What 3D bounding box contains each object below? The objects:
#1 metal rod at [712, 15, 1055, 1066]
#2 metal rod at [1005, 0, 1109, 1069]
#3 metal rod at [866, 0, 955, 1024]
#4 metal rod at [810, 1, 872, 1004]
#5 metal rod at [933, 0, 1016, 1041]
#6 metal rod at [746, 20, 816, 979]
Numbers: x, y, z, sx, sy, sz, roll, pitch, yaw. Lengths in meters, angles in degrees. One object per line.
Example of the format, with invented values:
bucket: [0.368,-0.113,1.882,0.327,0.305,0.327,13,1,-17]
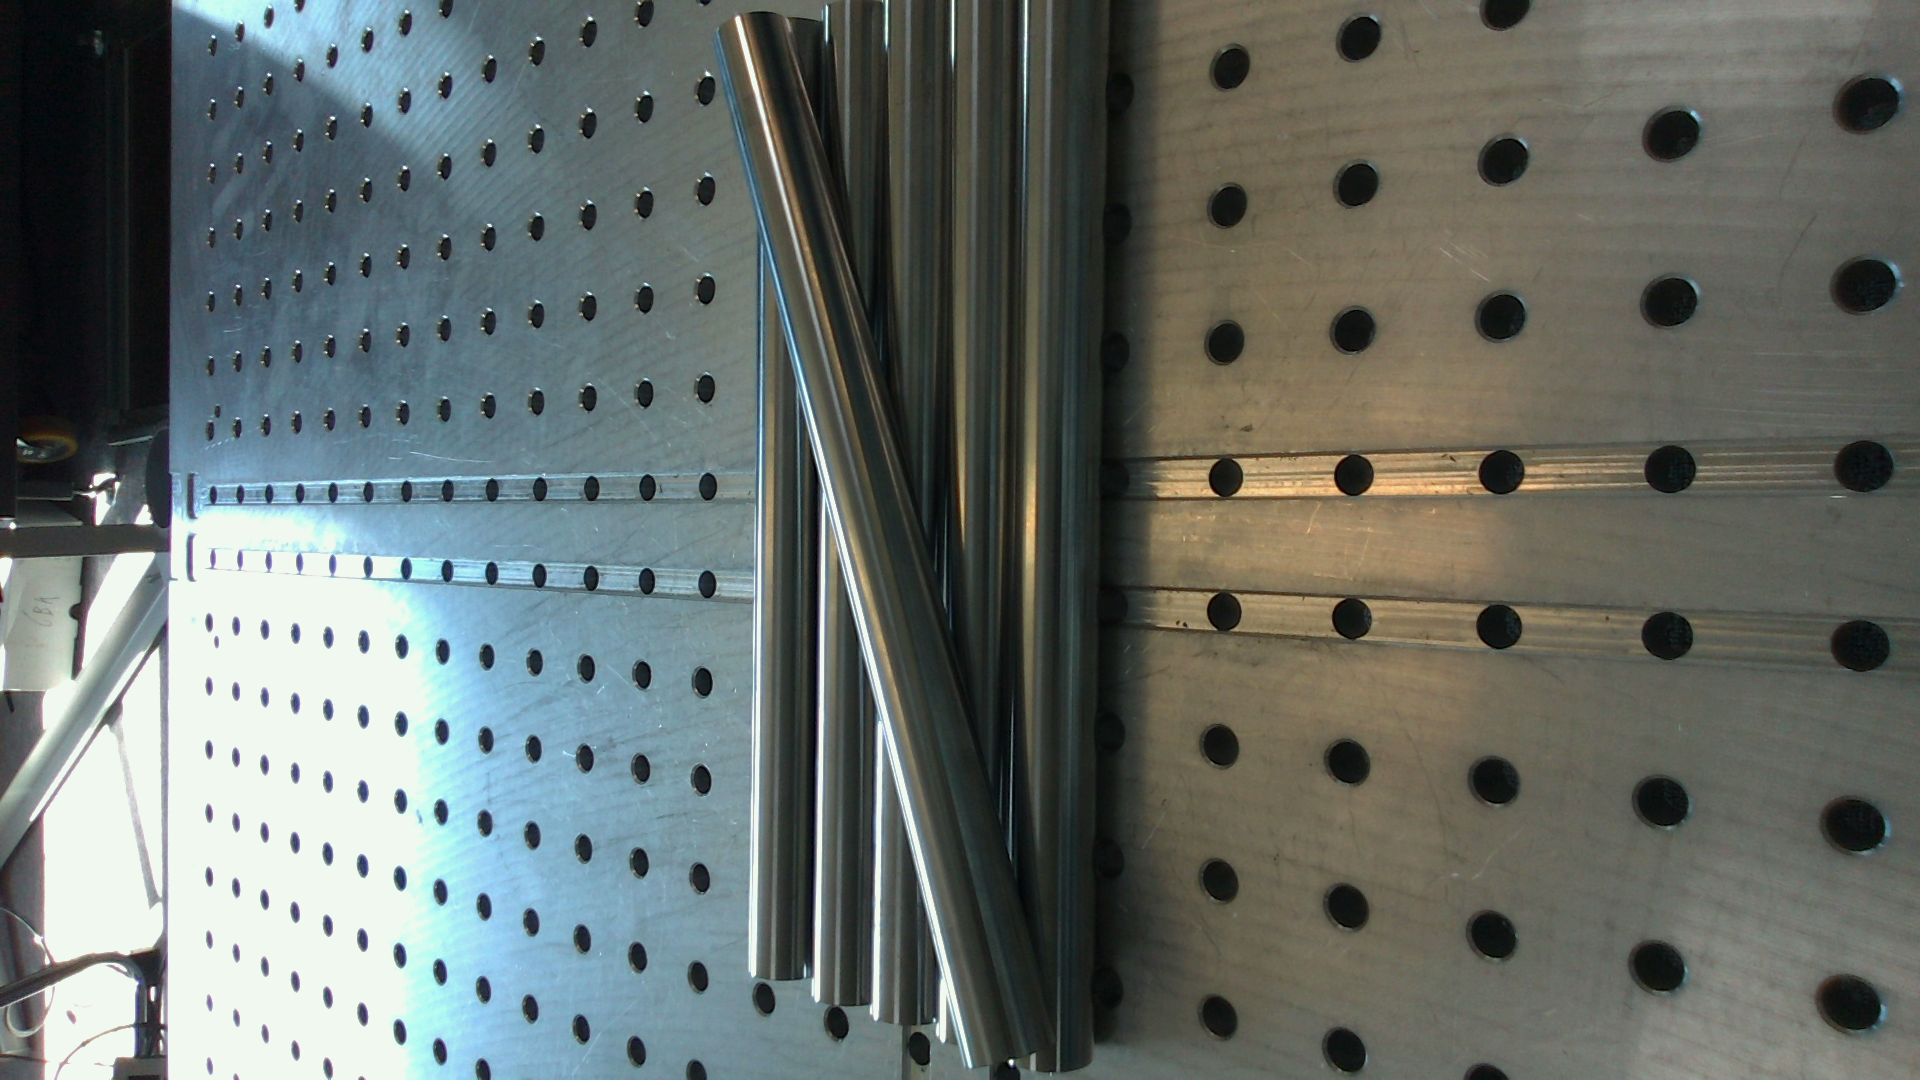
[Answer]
metal rod: [-0.025,-0.010,0.386,0.025,0.025,0.300,-24,75,38]
metal rod: [0.026,-0.009,0.377,0.025,0.025,0.300,2,91,40]
metal rod: [-0.014,-0.010,0.409,0.025,0.025,0.300,1,91,40]
metal rod: [-0.033,-0.011,0.424,0.025,0.025,0.300,1,91,40]
metal rod: [0.006,-0.010,0.393,0.025,0.025,0.300,1,91,40]
metal rod: [-0.055,-0.012,0.443,0.025,0.025,0.300,1,91,40]
